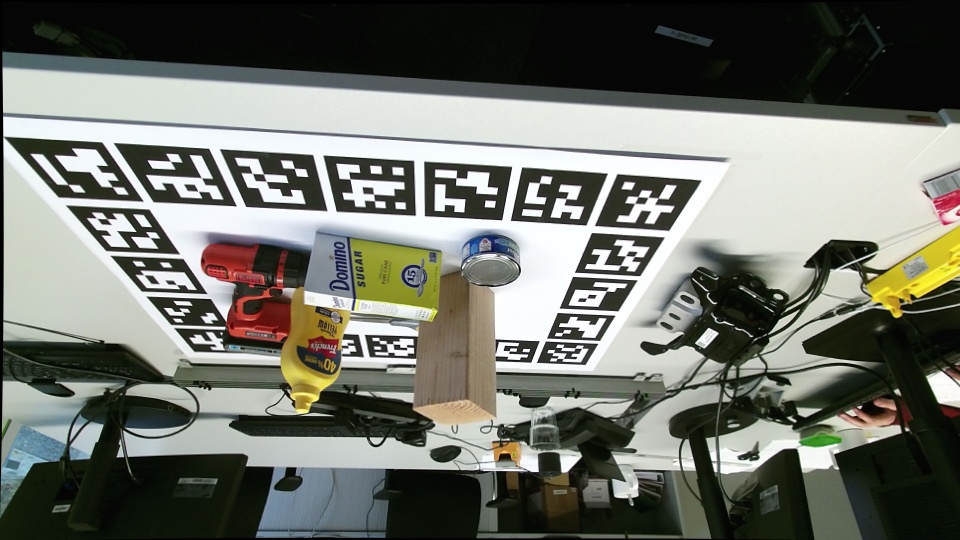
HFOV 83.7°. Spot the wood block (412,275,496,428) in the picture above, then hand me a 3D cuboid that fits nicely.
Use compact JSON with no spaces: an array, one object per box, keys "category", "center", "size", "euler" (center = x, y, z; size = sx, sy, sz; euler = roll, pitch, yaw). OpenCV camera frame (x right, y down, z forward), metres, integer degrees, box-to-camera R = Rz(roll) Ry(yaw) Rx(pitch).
[{"category":"wood block","center":[-0.035,0.119,0.803],"size":[0.091,0.205,0.090],"euler":[-16,140,19]}]

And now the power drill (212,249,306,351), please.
[{"category":"power drill","center":[-0.302,0.050,0.812],"size":[0.185,0.057,0.187],"euler":[10,135,-15]}]

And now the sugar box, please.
[{"category":"sugar box","center":[-0.152,0.017,0.743],"size":[0.177,0.092,0.045],"euler":[11,145,-12]}]

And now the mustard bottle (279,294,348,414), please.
[{"category":"mustard bottle","center":[-0.258,0.129,0.822],"size":[0.058,0.190,0.096],"euler":[-25,136,27]}]

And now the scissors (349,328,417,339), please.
[{"category":"scissors","center":[-0.124,0.108,0.927],"size":[0.203,0.016,0.088],"euler":[3,147,-6]}]

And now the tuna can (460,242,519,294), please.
[{"category":"tuna can","center":[0.014,-0.001,0.762],"size":[0.086,0.033,0.086],"euler":[0,143,0]}]
